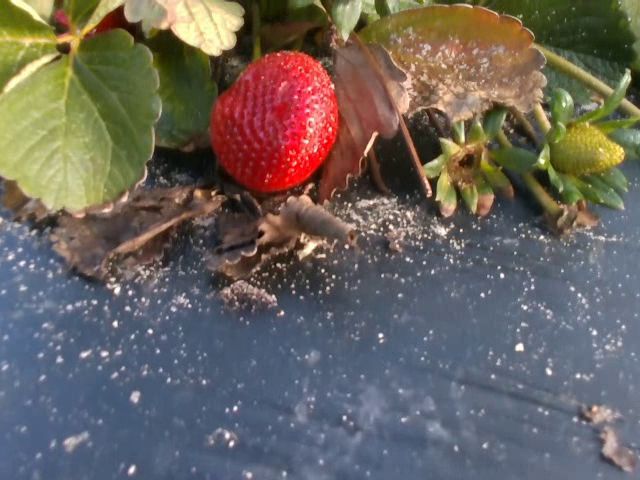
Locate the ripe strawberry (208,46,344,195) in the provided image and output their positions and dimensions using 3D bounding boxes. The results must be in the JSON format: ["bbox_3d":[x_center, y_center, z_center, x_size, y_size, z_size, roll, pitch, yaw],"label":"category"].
[{"bbox_3d":[-0.009,-0.021,0.114,0.031,0.026,0.030,-19,32,-11],"label":"ripe strawberry"}]
